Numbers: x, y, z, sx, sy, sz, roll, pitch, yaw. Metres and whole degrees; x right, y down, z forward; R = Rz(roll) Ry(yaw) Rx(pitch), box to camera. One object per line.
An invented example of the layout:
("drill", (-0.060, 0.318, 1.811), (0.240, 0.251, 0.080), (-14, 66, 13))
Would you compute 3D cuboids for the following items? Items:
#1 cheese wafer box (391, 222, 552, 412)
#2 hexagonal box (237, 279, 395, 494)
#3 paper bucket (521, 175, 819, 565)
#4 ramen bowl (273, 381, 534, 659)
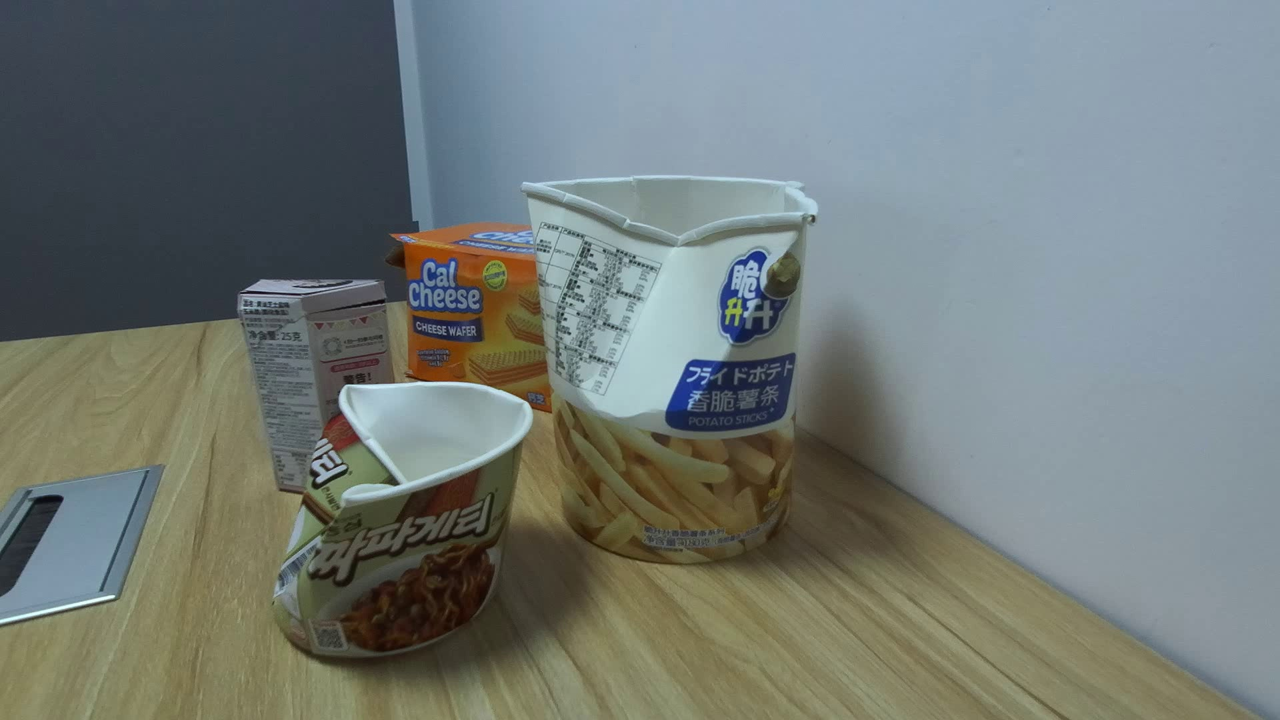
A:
("cheese wafer box", (-0.097, -0.051, 0.655), (0.226, 0.137, 0.150), (10, 22, 26))
("hexagonal box", (-0.205, 0.013, 0.469), (0.092, 0.135, 0.084), (-18, 26, -41))
("paper bucket", (0.014, -0.004, 0.427), (0.162, 0.202, 0.169), (2, 18, 9))
("ramen bowl", (-0.119, 0.076, 0.354), (0.137, 0.098, 0.137), (2, 23, -1))
